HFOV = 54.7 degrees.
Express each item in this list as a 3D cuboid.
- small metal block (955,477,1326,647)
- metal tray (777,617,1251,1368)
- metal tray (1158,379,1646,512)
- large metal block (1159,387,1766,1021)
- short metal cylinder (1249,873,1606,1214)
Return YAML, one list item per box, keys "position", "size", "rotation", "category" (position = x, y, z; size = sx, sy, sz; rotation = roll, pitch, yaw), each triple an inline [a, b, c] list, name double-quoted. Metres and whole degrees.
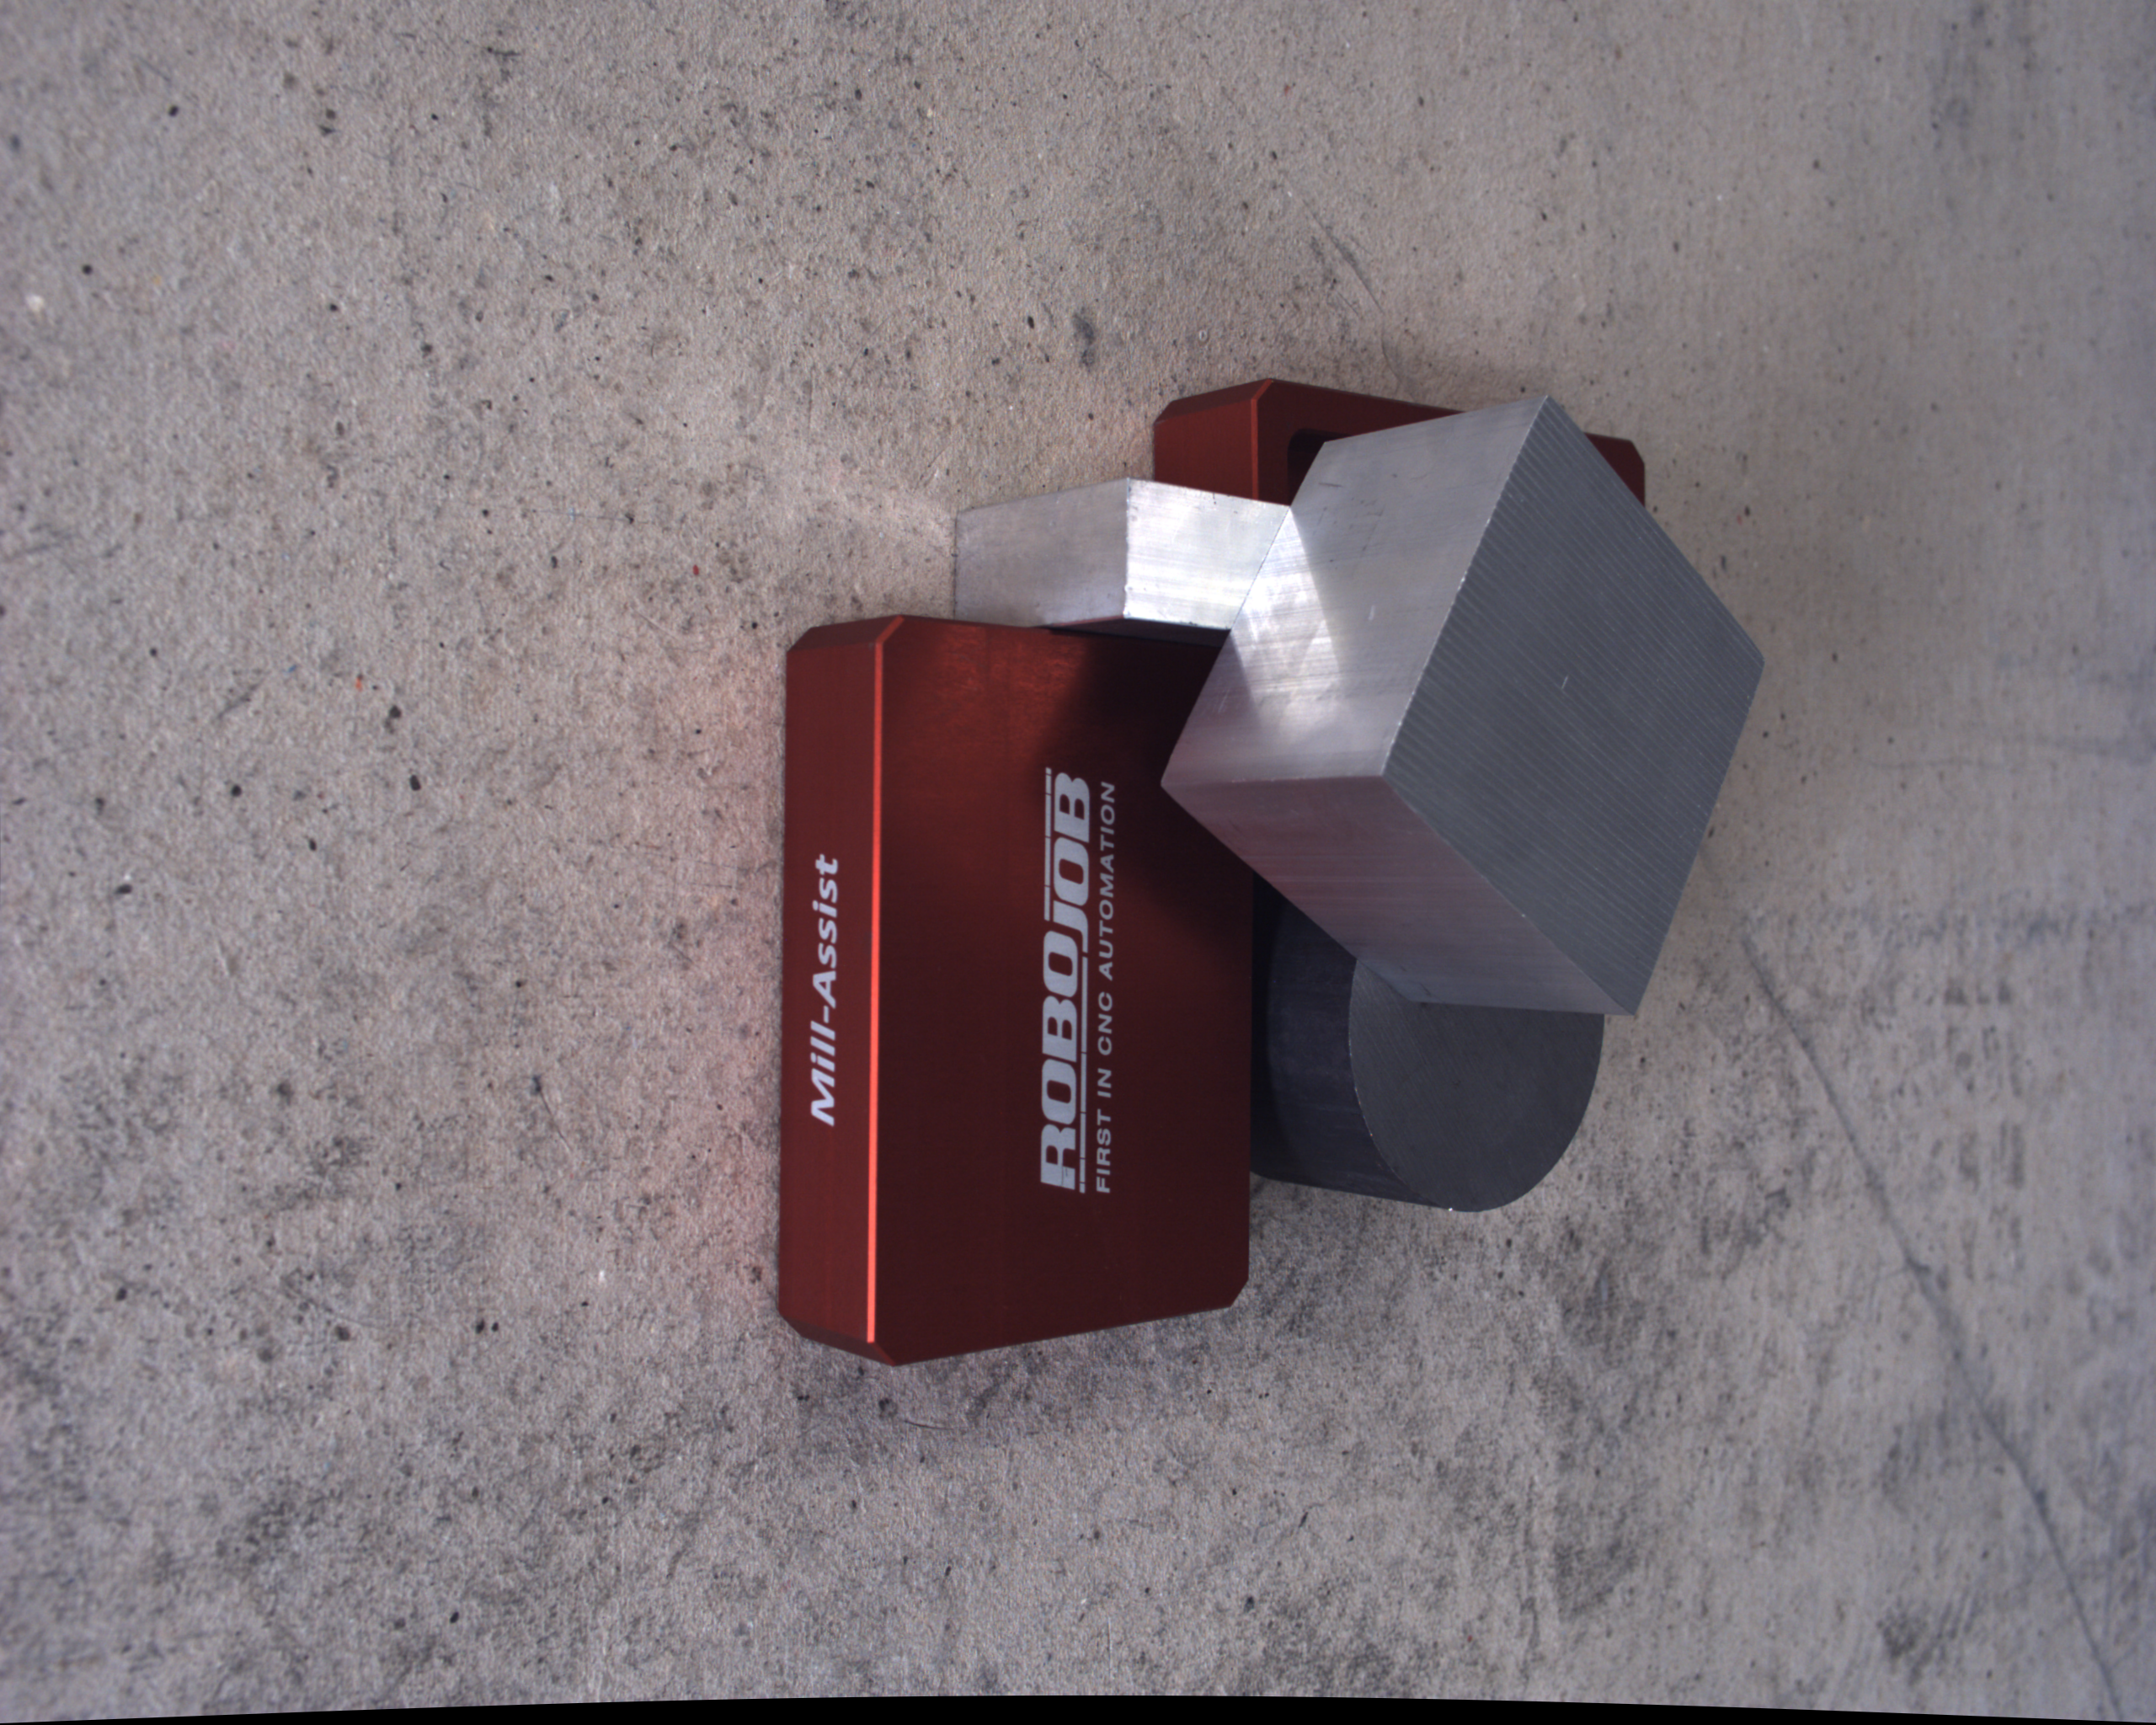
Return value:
- position: [0.012, -0.055, 0.400]
  size: [0.050, 0.050, 0.025]
  rotation: [1, 90, -40]
  category: "small metal block"
- position: [-0.010, 0.023, 0.396]
  size: [0.091, 0.030, 0.129]
  rotation: [1, 90, -40]
  category: "metal tray"
- position: [0.077, -0.054, 0.466]
  size: [0.131, 0.030, 0.089]
  rotation: [-2, 92, -40]
  category: "metal tray"
- position: [0.073, -0.027, 0.384]
  size: [0.080, 0.050, 0.080]
  rotation: [40, 66, -33]
  category: "large metal block"
- position: [0.068, 0.032, 0.446]
  size: [0.081, 0.050, 0.080]
  rotation: [0, 91, -39]
  category: "short metal cylinder"
